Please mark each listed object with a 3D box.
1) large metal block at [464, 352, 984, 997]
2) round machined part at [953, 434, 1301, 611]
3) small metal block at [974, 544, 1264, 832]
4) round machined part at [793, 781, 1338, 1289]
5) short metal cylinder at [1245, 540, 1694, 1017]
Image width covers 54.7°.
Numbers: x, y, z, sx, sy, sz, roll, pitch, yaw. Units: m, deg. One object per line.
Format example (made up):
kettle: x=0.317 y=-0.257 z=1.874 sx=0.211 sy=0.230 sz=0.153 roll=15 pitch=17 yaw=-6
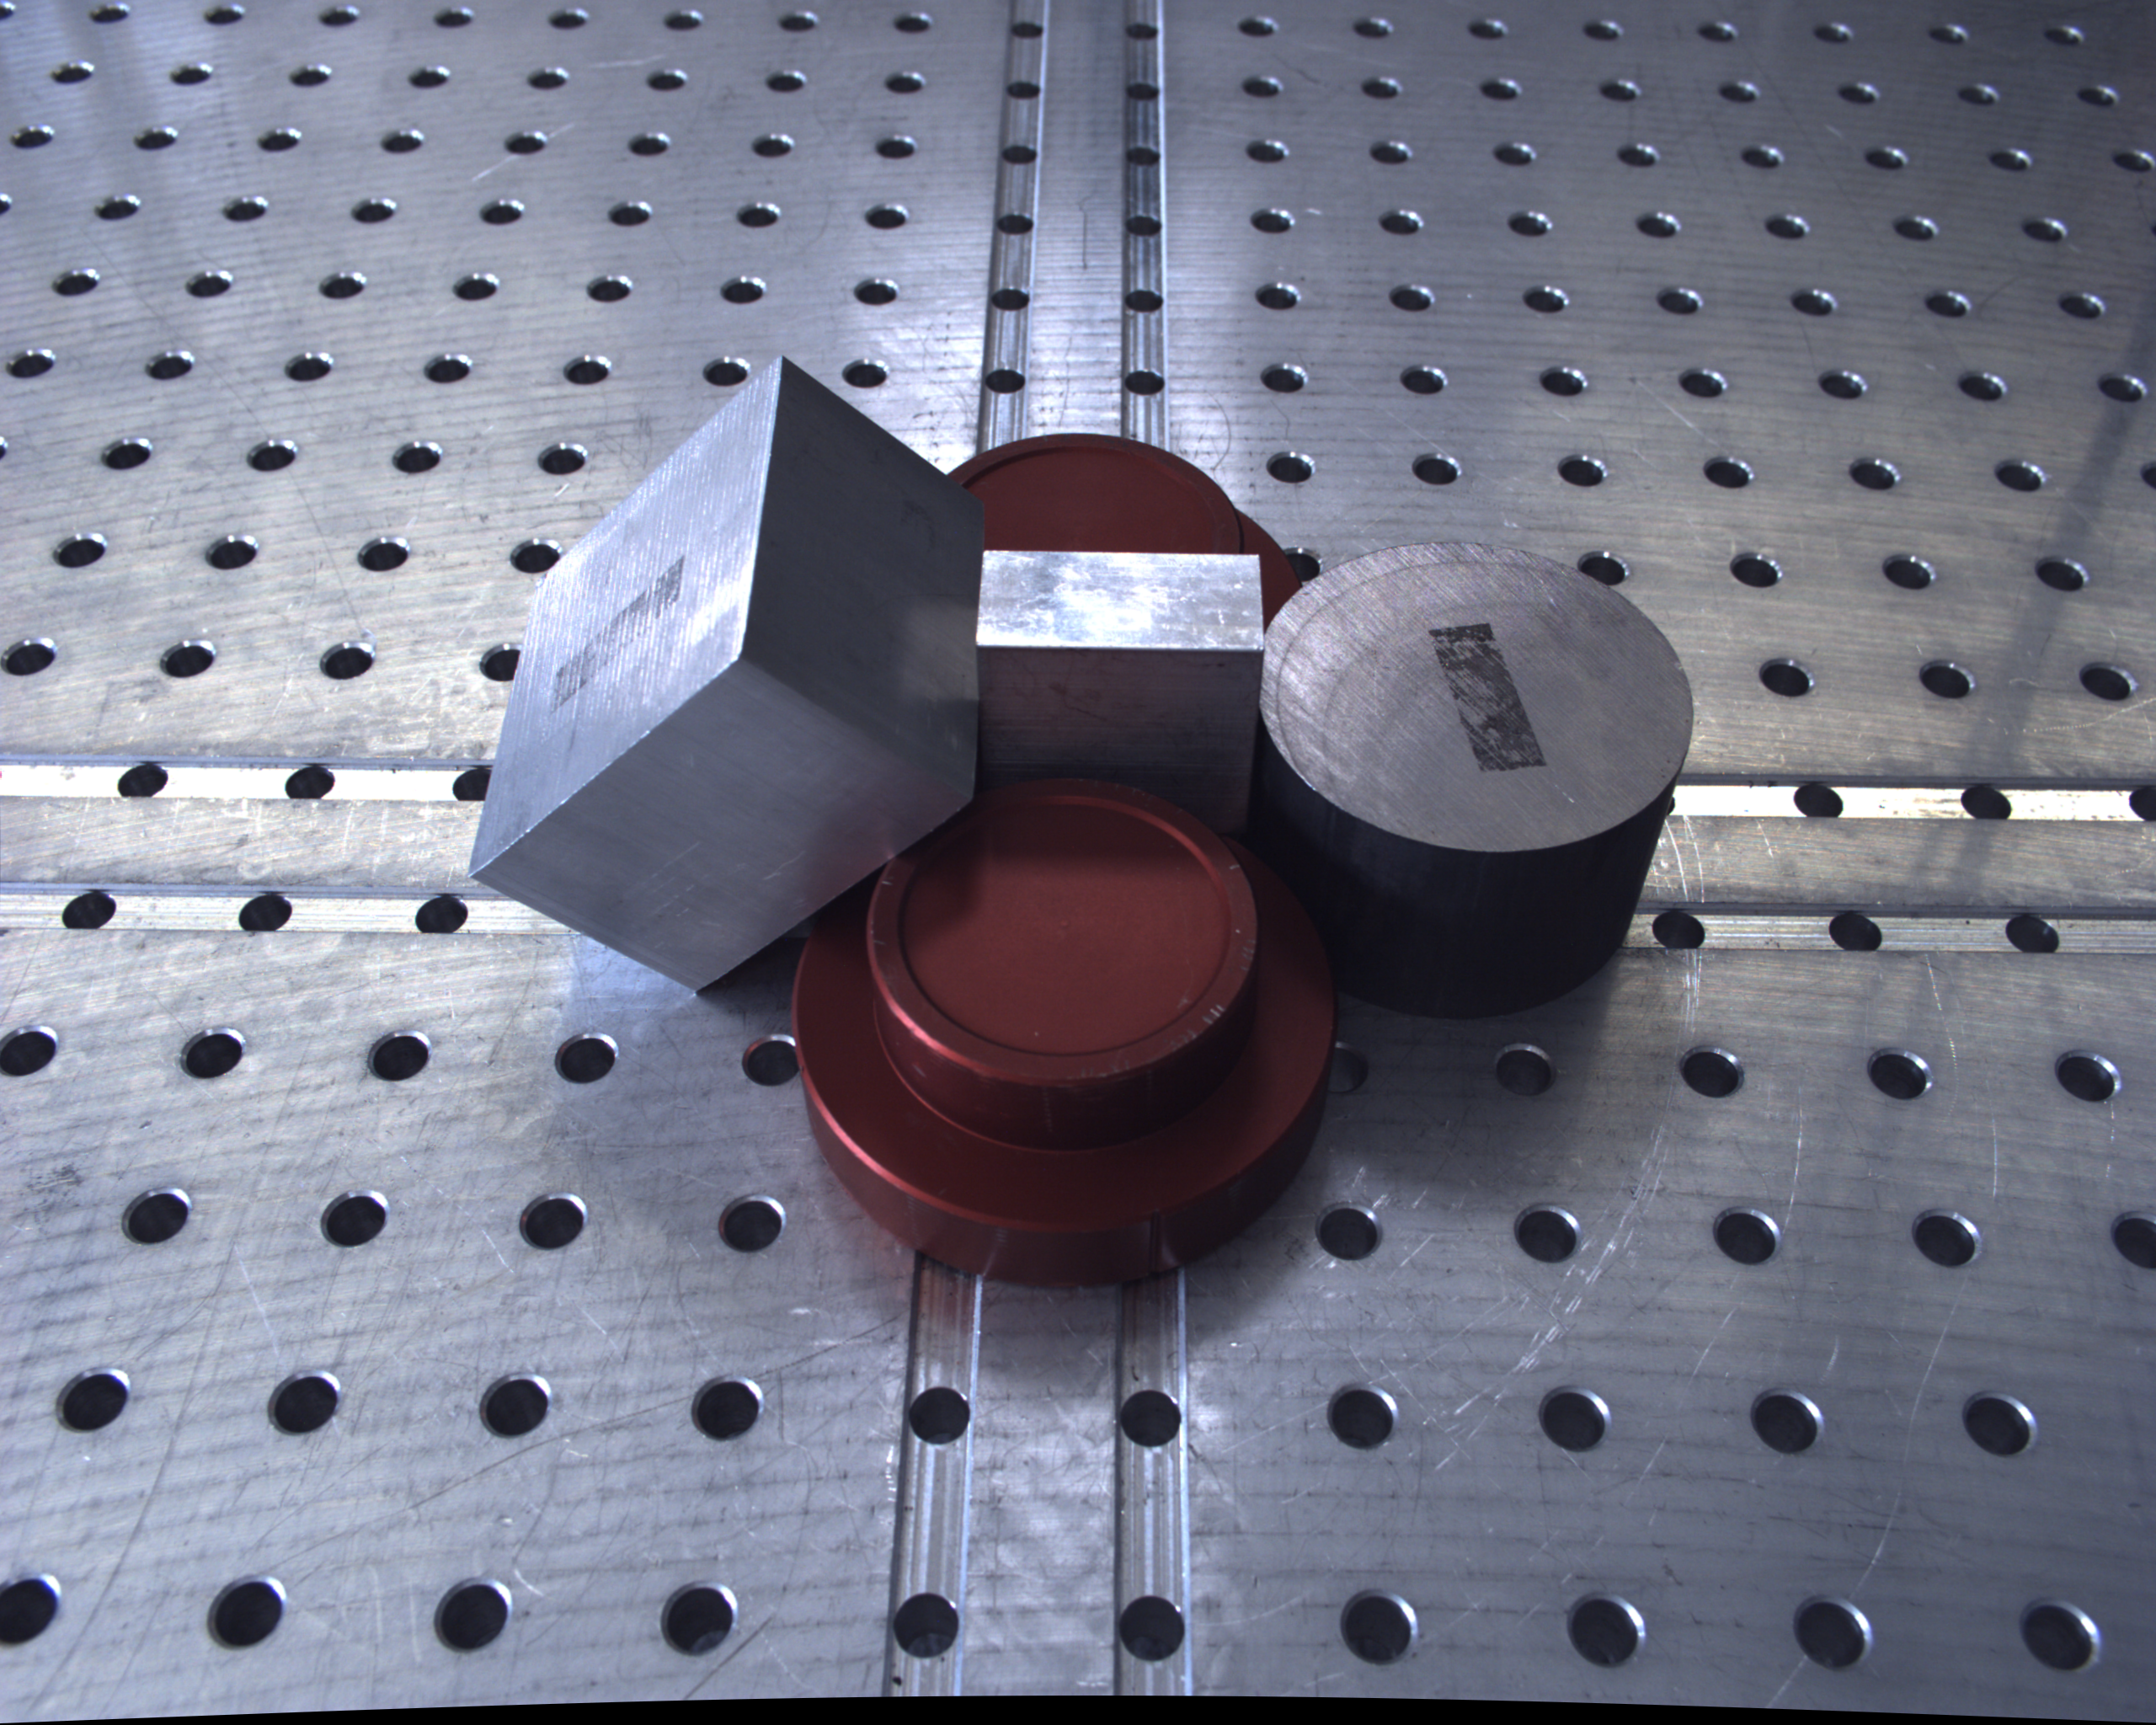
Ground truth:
large metal block: x=-0.064 y=-0.034 z=0.392 sx=0.050 sy=0.080 sz=0.080 roll=32 pitch=40 yaw=-33
round machined part: x=0.000 y=-0.053 z=0.441 sx=0.099 sy=0.042 sz=0.098 roll=0 pitch=50 yaw=0
small metal block: x=0.008 y=-0.032 z=0.389 sx=0.050 sy=0.050 sz=0.025 roll=1 pitch=50 yaw=1
round machined part: x=-0.002 y=0.024 z=0.377 sx=0.099 sy=0.042 sz=0.098 roll=0 pitch=50 yaw=0
short metal cylinder: x=0.073 y=-0.017 z=0.405 sx=0.080 sy=0.050 sz=0.080 roll=0 pitch=50 yaw=0
